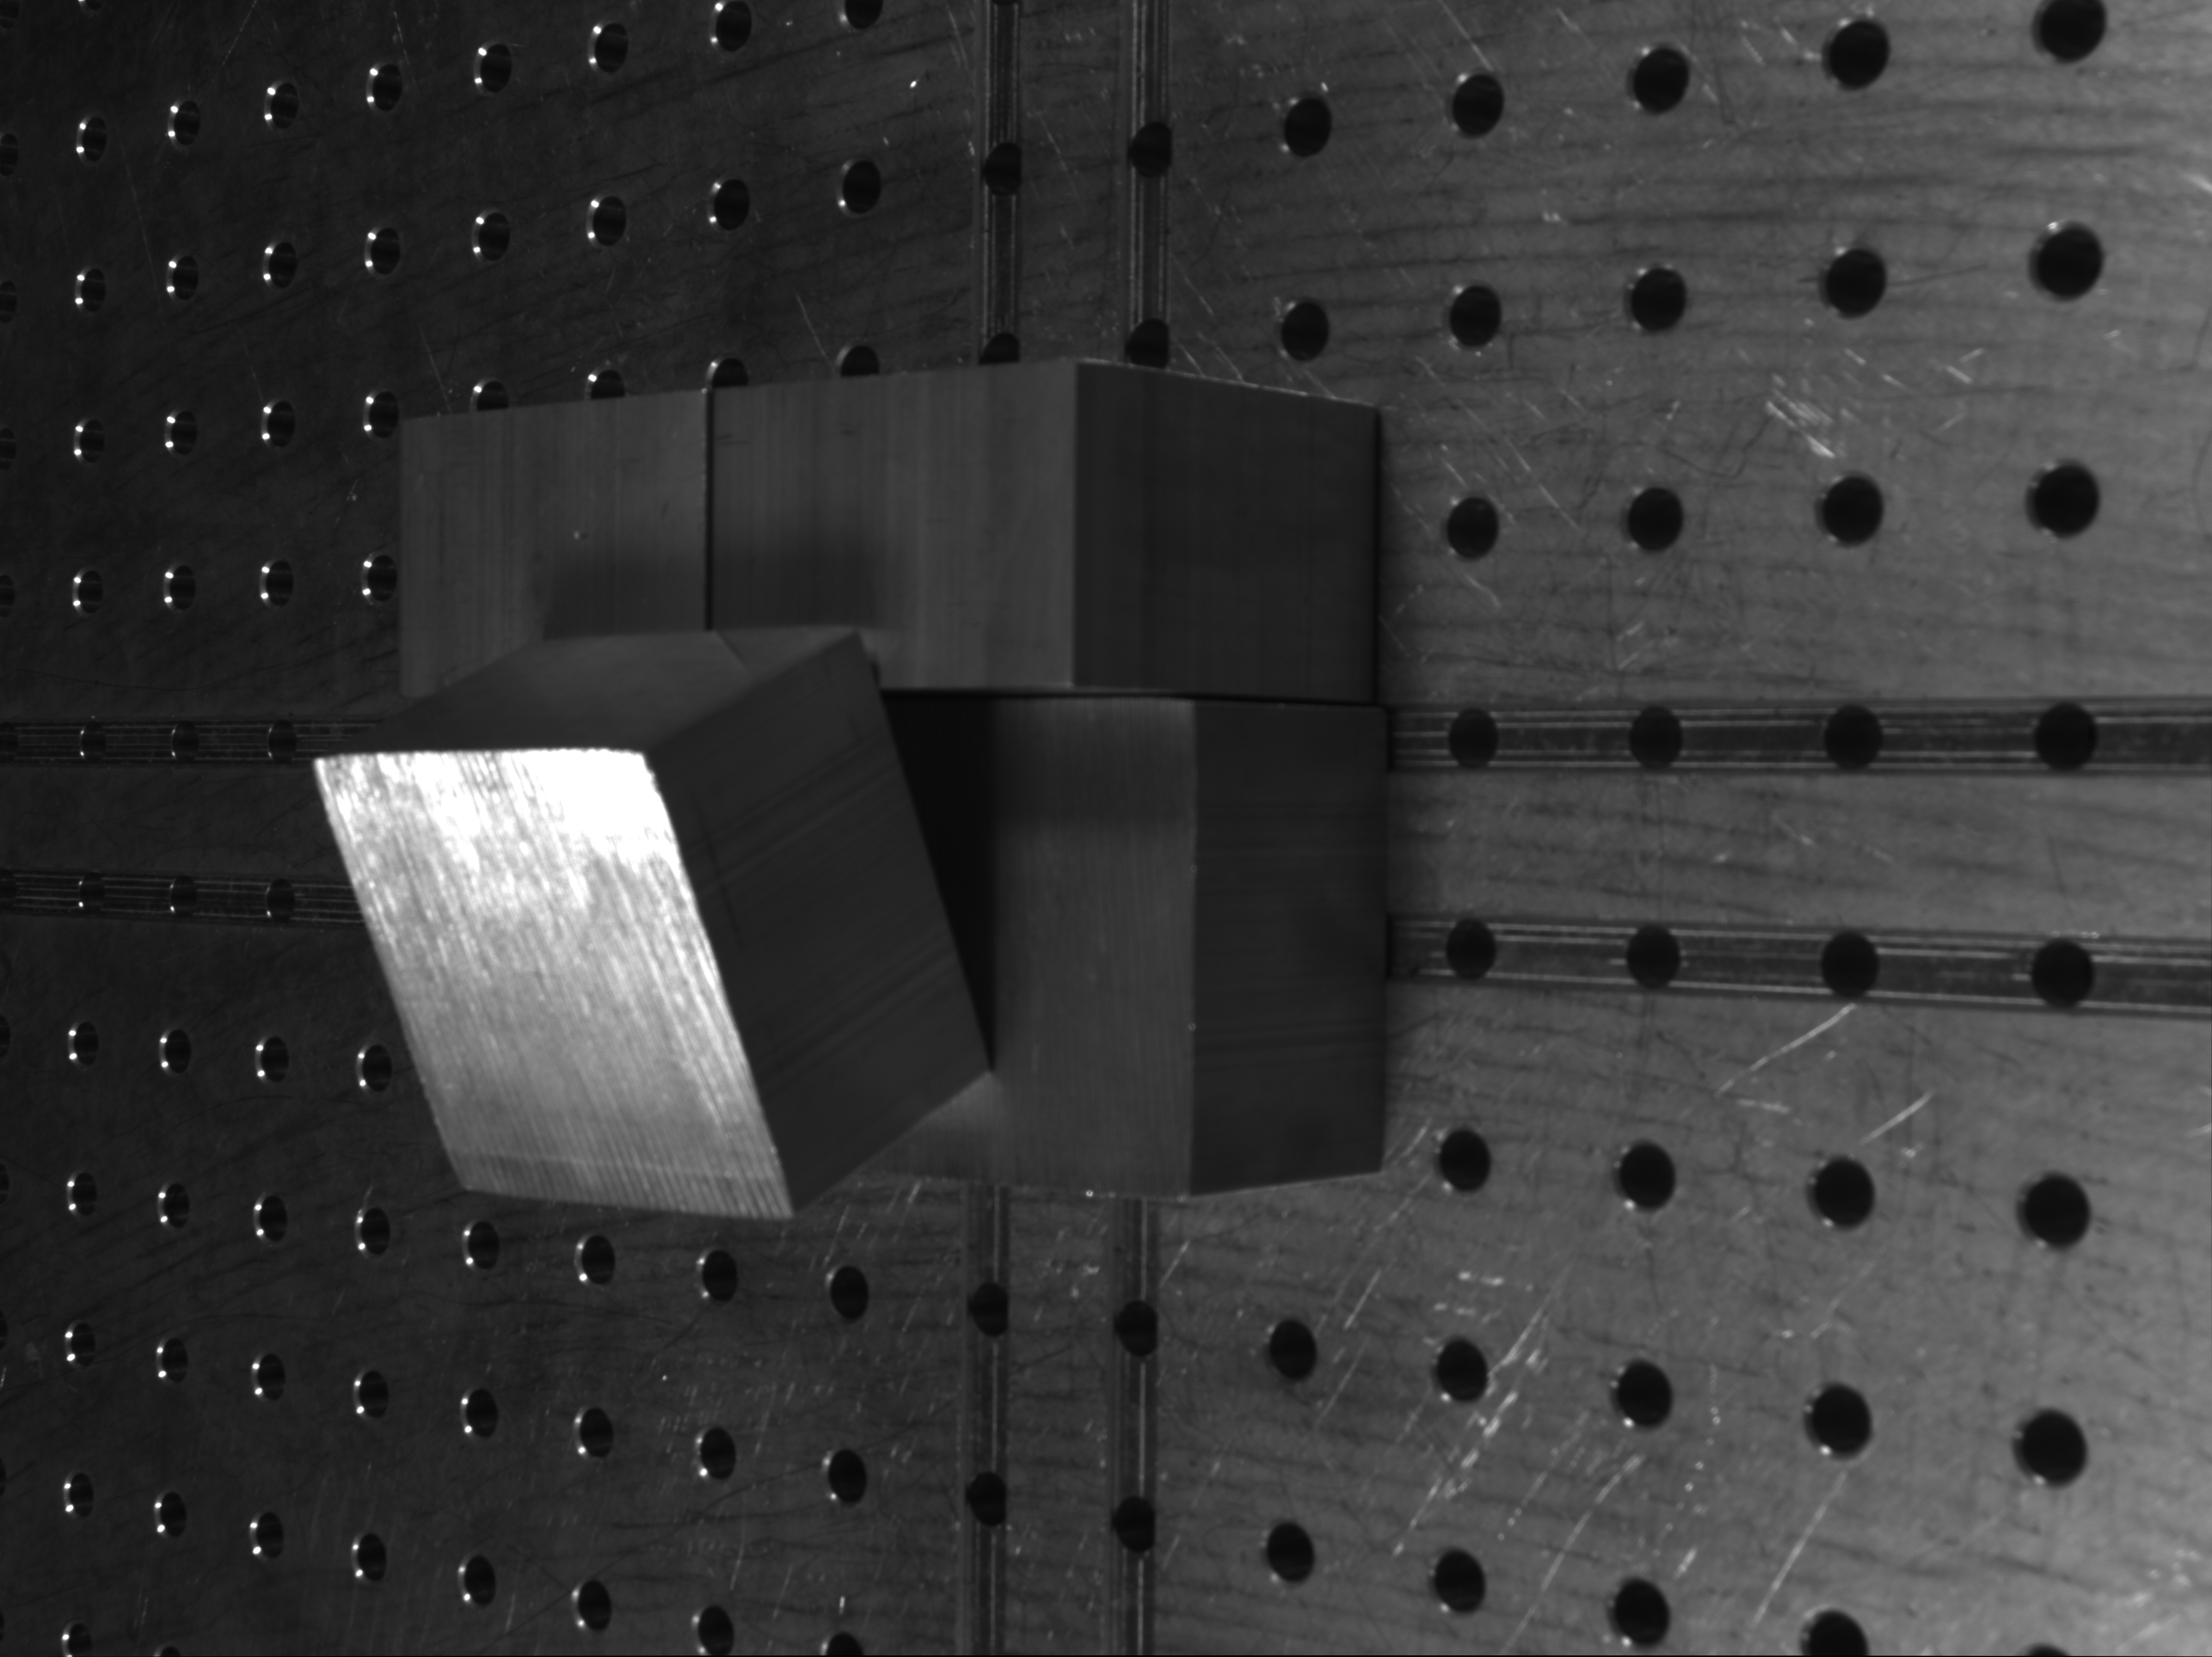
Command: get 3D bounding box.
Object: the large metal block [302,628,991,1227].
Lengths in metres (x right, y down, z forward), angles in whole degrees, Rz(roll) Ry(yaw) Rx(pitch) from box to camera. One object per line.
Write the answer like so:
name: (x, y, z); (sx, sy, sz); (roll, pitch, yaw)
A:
large metal block: (-0.075, 0.015, 0.598); (0.080, 0.050, 0.080); (0, 114, 39)

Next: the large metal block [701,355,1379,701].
large metal block: (-0.011, -0.047, 0.611); (0.080, 0.080, 0.050); (1, 90, 39)

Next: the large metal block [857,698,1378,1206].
large metal block: (-0.001, 0.019, 0.621); (0.080, 0.050, 0.080); (1, 90, 39)

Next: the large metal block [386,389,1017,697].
large metal block: (-0.073, -0.048, 0.662); (0.080, 0.080, 0.050); (1, 90, 39)

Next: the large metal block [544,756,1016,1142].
large metal block: (-0.063, 0.018, 0.673); (0.080, 0.050, 0.080); (1, 90, 39)
